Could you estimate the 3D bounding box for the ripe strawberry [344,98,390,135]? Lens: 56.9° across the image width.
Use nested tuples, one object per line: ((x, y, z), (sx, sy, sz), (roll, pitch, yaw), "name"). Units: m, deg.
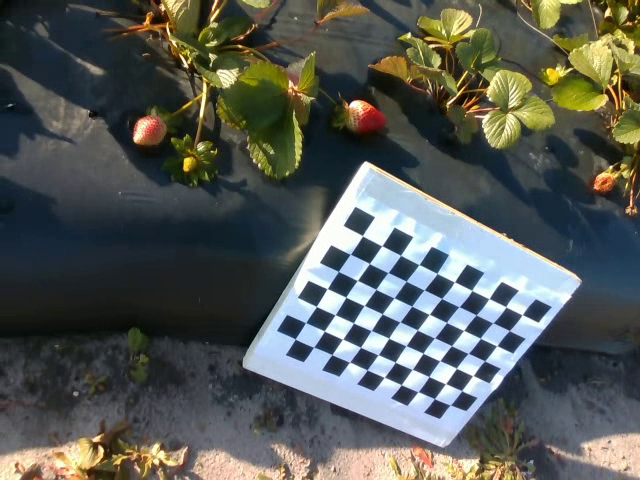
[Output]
((0.058, -0.148, 0.703), (0.063, 0.045, 0.044), (9, 23, -13), "ripe strawberry")
